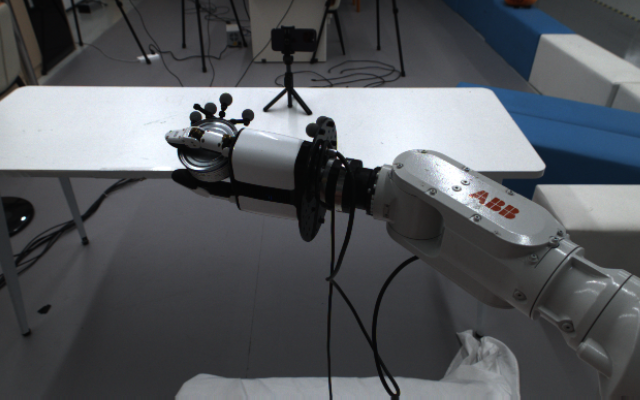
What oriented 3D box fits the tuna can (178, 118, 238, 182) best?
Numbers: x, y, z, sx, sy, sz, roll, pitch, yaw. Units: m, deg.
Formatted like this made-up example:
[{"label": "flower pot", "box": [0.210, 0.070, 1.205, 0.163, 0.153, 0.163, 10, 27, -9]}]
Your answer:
[{"label": "tuna can", "box": [-0.147, -0.067, 0.655, 0.085, 0.034, 0.085, -6, 58, 10]}]
